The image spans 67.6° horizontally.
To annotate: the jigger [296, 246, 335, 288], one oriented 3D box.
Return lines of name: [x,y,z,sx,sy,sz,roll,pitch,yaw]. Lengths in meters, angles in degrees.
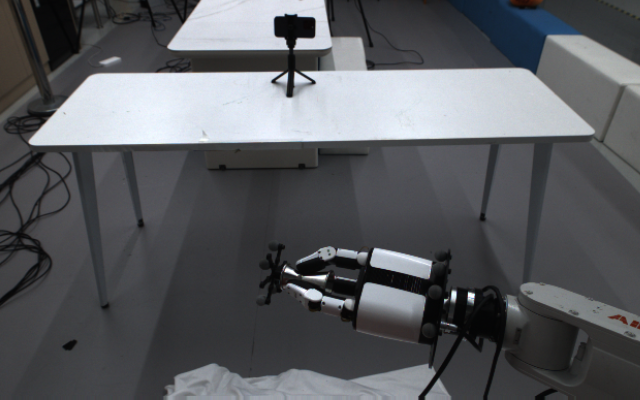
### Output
jigger: [-0.012,0.112,0.687,0.071,0.043,0.043,9,35,17]
